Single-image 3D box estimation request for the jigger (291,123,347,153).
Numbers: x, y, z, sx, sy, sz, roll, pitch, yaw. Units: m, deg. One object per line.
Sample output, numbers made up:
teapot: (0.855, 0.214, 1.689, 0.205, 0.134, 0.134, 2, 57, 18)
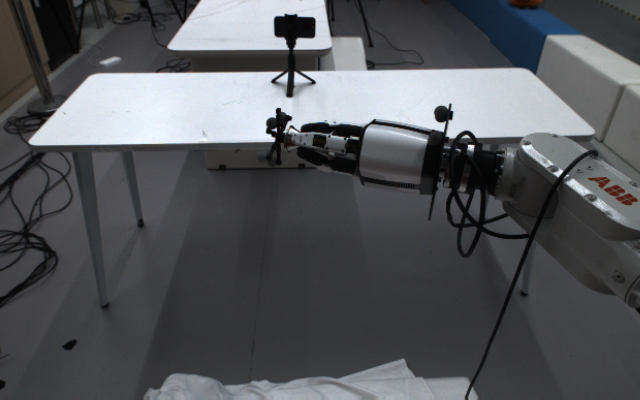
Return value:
jigger: (-0.008, -0.088, 0.702, 0.071, 0.043, 0.043, 10, 36, 16)
